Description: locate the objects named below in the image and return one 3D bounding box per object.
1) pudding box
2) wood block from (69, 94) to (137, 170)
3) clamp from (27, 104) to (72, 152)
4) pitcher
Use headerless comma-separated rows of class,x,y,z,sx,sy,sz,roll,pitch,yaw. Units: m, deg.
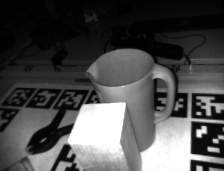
pudding box,-0.238,0.232,0.529,0.090,0.039,0.112,-37,43,-20
wood block,-0.004,0.124,0.442,0.089,0.208,0.091,0,41,14
clamp,-0.177,0.129,0.640,0.120,0.037,0.166,29,56,32
pitcher,0.045,0.032,0.511,0.187,0.245,0.133,-3,39,20
